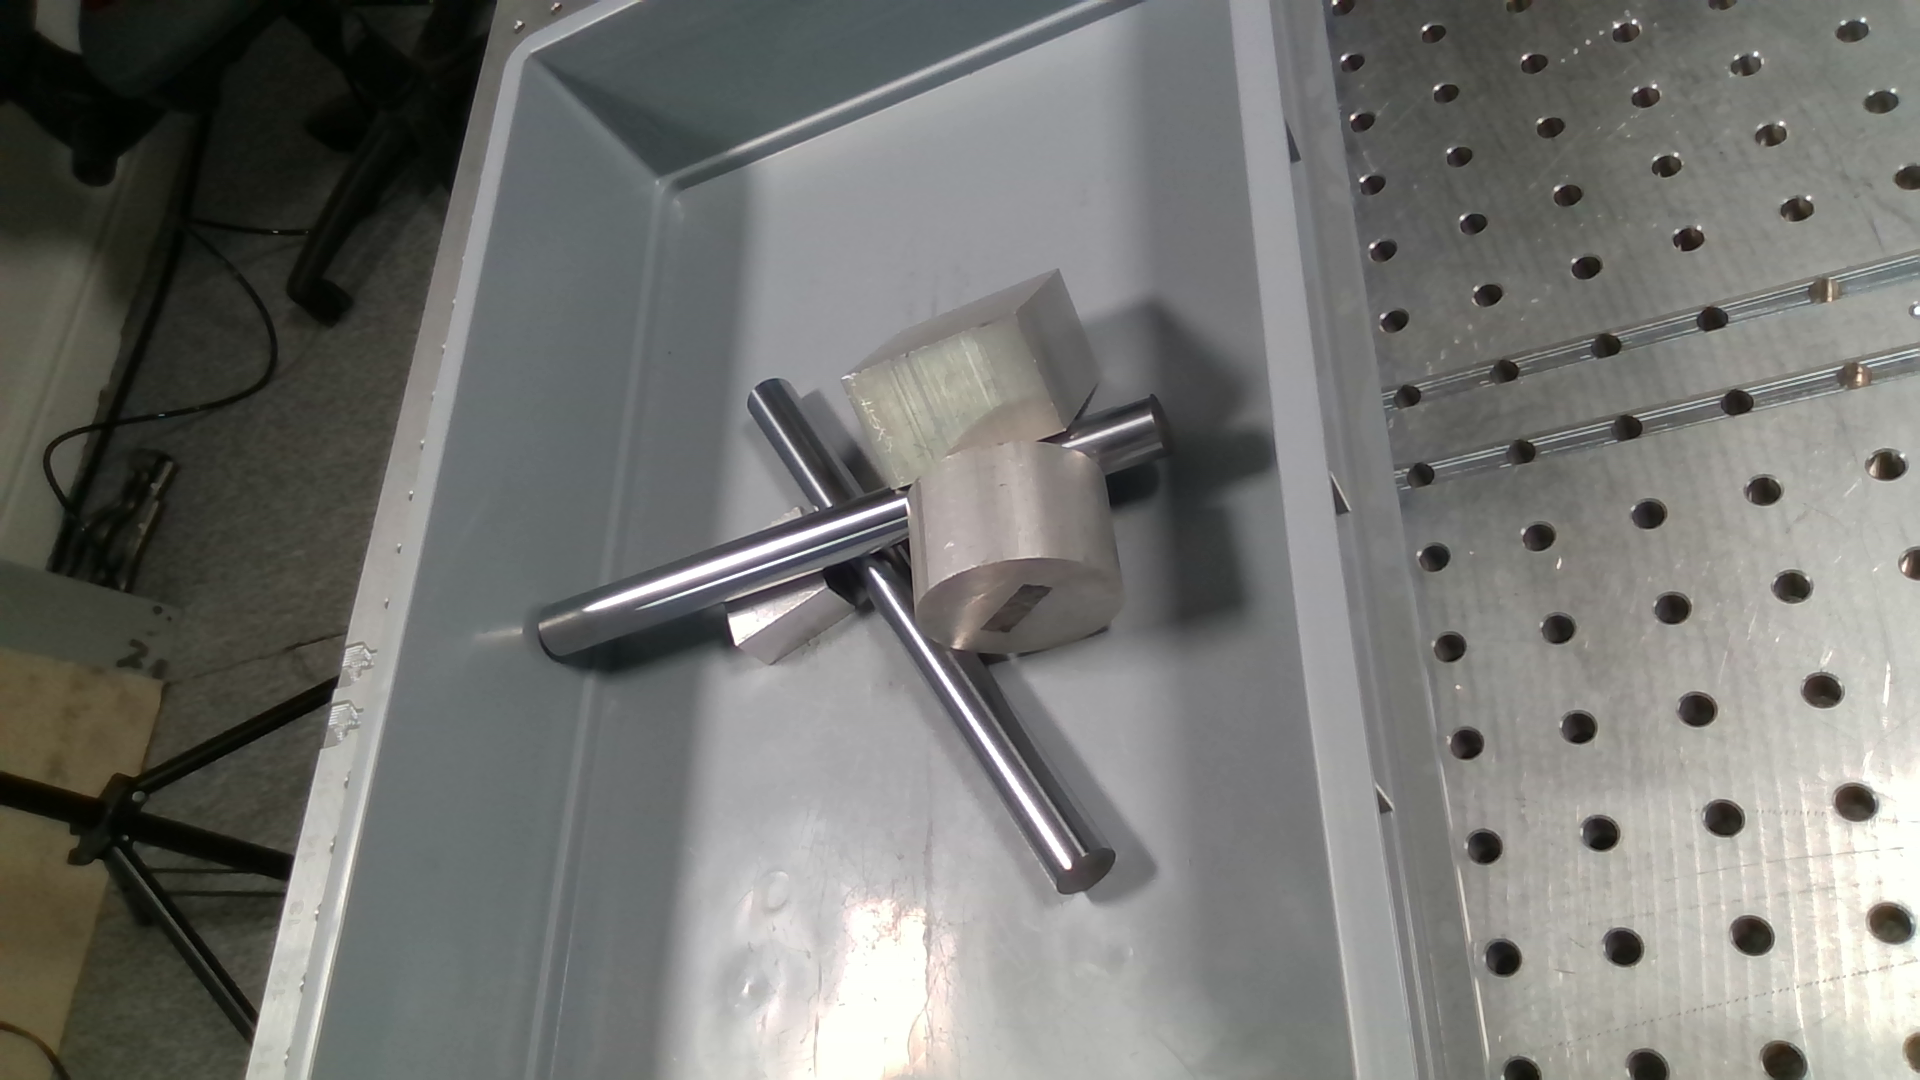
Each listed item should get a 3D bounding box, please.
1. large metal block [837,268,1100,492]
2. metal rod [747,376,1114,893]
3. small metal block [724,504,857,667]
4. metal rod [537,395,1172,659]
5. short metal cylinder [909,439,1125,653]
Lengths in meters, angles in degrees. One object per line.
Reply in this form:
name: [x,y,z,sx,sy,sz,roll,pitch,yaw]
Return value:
large metal block: [0.007,-0.068,0.575,0.080,0.050,0.080,-18,17,23]
metal rod: [-0.025,0.024,0.586,0.025,0.025,0.299,-41,51,6]
small metal block: [-0.080,0.021,0.623,0.050,0.025,0.050,-33,53,13]
metal rod: [-0.055,0.000,0.585,0.300,0.025,0.025,-18,57,21]
short metal cylinder: [0.020,0.004,0.533,0.080,0.080,0.050,-19,58,23]
